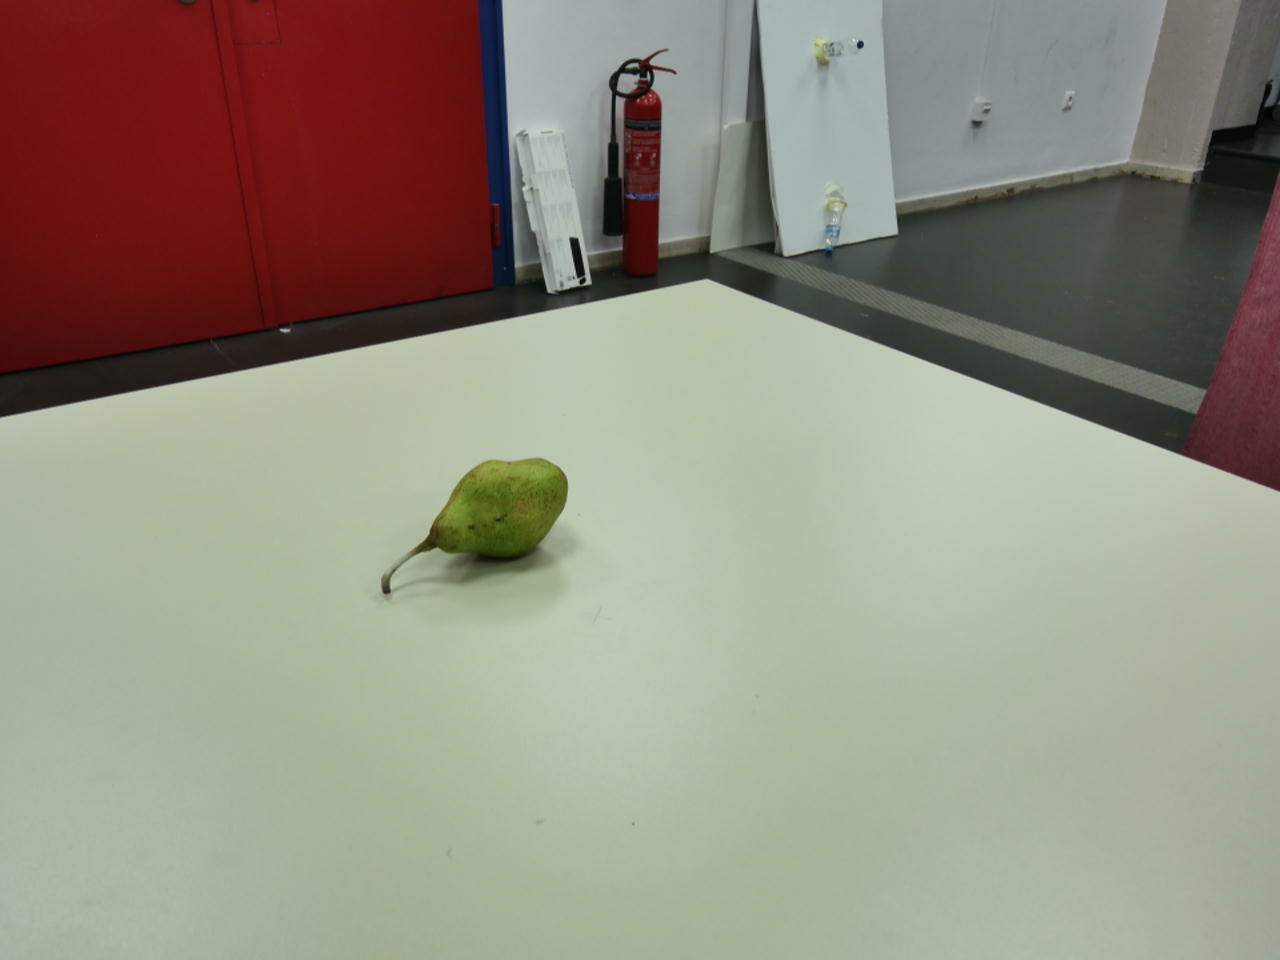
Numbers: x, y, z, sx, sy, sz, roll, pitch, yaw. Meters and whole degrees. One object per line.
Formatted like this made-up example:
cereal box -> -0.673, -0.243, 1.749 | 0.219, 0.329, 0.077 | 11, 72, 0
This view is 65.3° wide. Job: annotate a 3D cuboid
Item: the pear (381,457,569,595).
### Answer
pear -> -0.094, 0.019, 0.558 | 0.111, 0.056, 0.056 | -10, 27, -19
